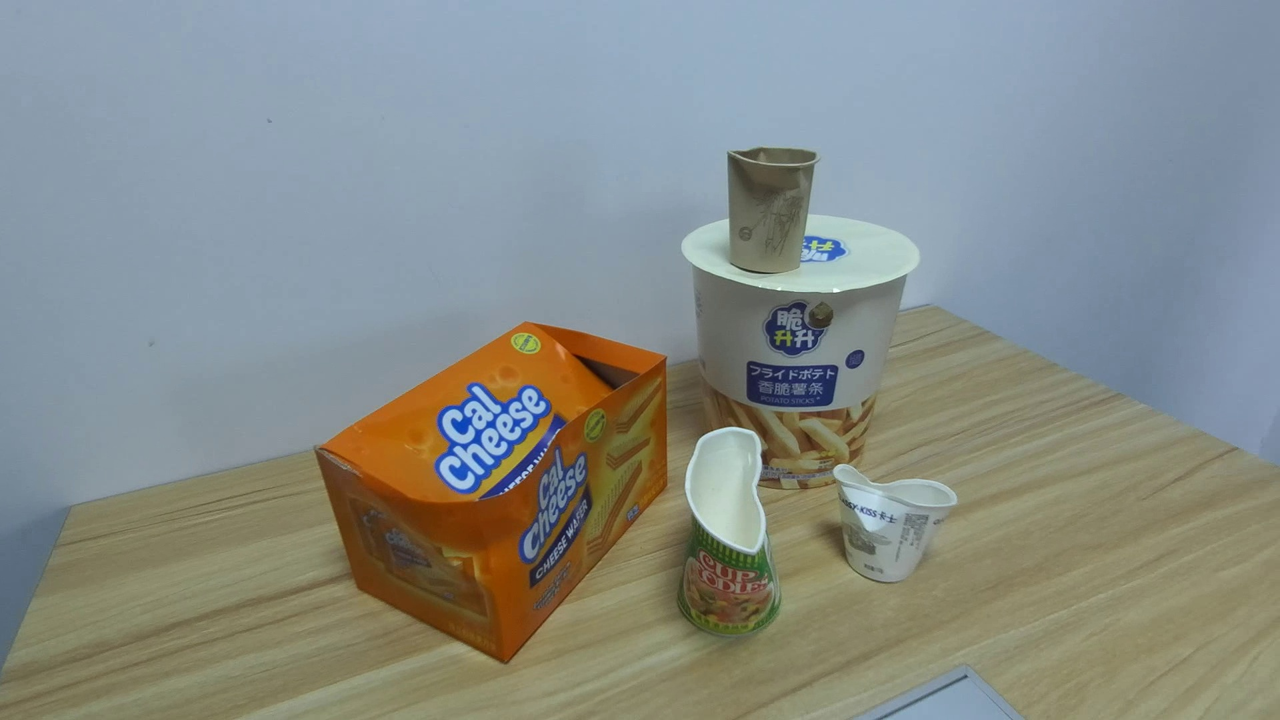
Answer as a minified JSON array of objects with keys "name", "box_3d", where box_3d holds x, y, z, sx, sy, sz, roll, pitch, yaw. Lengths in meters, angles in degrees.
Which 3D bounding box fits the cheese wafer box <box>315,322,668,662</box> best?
[{"name":"cheese wafer box","box_3d":[-0.092,0.084,0.530,0.151,0.132,0.231,15,31,27]}]

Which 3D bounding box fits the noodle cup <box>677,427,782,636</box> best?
[{"name":"noodle cup","box_3d":[0.061,0.119,0.467,0.070,0.111,0.115,10,30,25]}]

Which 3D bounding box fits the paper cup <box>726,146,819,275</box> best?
[{"name":"paper cup","box_3d":[0.100,-0.112,0.522,0.066,0.084,0.072,19,30,33]}]

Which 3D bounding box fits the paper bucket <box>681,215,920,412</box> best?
[{"name":"paper bucket","box_3d":[0.130,-0.008,0.618,0.198,0.195,0.198,-1,28,1]}]

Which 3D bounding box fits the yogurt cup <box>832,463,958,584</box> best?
[{"name":"yogurt cup","box_3d":[0.177,0.115,0.509,0.075,0.071,0.053,-2,29,-2]}]
